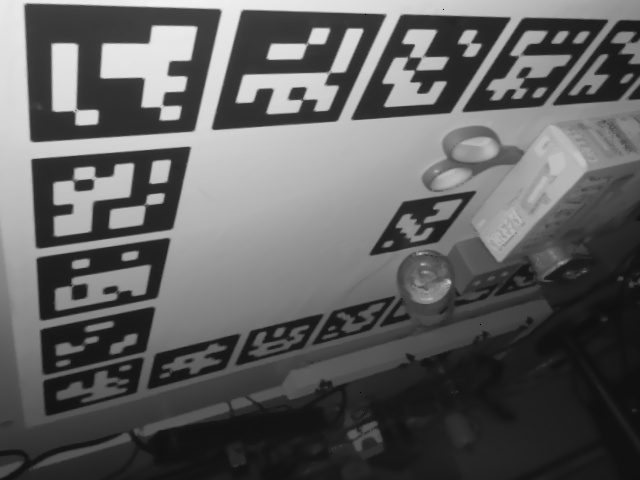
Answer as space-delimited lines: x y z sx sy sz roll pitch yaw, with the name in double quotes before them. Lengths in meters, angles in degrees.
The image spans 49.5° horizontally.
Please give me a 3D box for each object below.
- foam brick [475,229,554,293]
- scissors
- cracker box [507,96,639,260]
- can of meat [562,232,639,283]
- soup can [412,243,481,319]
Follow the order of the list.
"foam brick" 0.234 0.022 0.849 0.079 0.051 0.052 -16 146 -17
"scissors" 0.216 -0.100 0.668 0.205 0.016 0.086 -13 145 -22
"cracker box" 0.324 -0.072 0.728 0.216 0.072 0.162 -16 148 -23
"can of meat" 0.335 0.002 0.857 0.103 0.084 0.057 1 139 -36
"soup can" 0.154 0.052 0.832 0.068 0.068 0.102 -30 153 7
